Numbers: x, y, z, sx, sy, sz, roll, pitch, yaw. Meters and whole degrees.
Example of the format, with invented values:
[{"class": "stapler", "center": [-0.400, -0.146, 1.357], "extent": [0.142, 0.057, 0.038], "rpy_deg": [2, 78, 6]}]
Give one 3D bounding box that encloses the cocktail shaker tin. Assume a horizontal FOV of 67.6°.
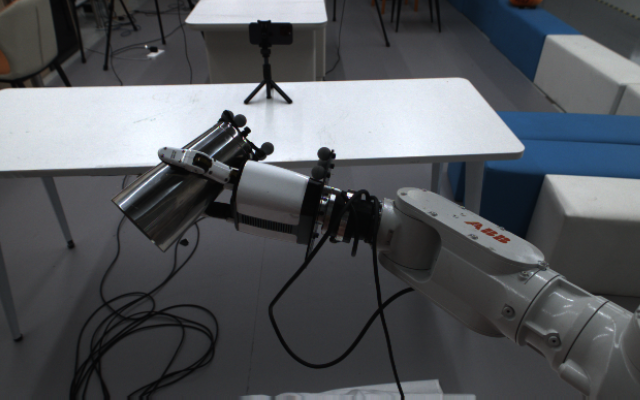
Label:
[{"class": "cocktail shaker tin", "center": [-0.169, -0.028, 0.625], "extent": [0.093, 0.093, 0.170], "rpy_deg": [32, 66, 36]}]
